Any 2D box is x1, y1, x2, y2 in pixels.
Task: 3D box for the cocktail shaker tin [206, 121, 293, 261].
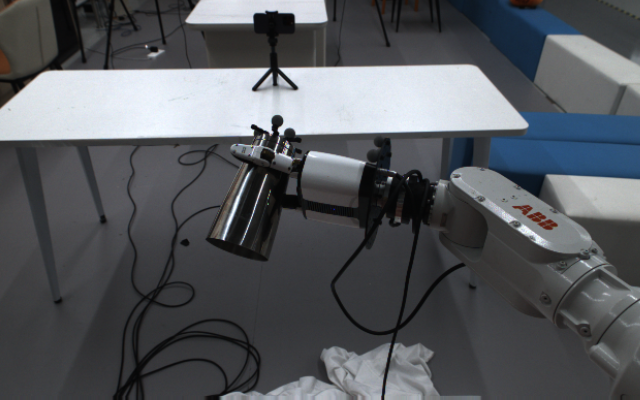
[{"bbox_3d":[-0.090,-0.010,0.703,0.093,0.093,0.170,13,72,15],"label":"cocktail shaker tin"}]
